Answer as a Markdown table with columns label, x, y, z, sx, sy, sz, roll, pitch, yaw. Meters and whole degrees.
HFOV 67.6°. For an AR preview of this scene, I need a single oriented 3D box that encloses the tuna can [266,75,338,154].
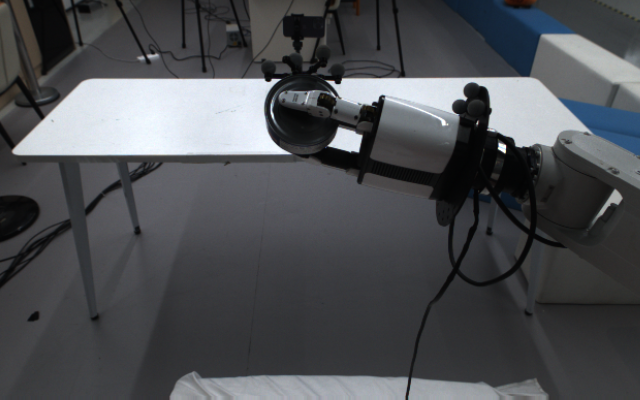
| label | x | y | z | sx | sy | sz | roll | pitch | yaw |
| --- | --- | --- | --- | --- | --- | --- | --- | --- | --- |
| tuna can | -0.017 | -0.092 | 0.539 | 0.085 | 0.034 | 0.085 | 1 | 71 | -4 |
